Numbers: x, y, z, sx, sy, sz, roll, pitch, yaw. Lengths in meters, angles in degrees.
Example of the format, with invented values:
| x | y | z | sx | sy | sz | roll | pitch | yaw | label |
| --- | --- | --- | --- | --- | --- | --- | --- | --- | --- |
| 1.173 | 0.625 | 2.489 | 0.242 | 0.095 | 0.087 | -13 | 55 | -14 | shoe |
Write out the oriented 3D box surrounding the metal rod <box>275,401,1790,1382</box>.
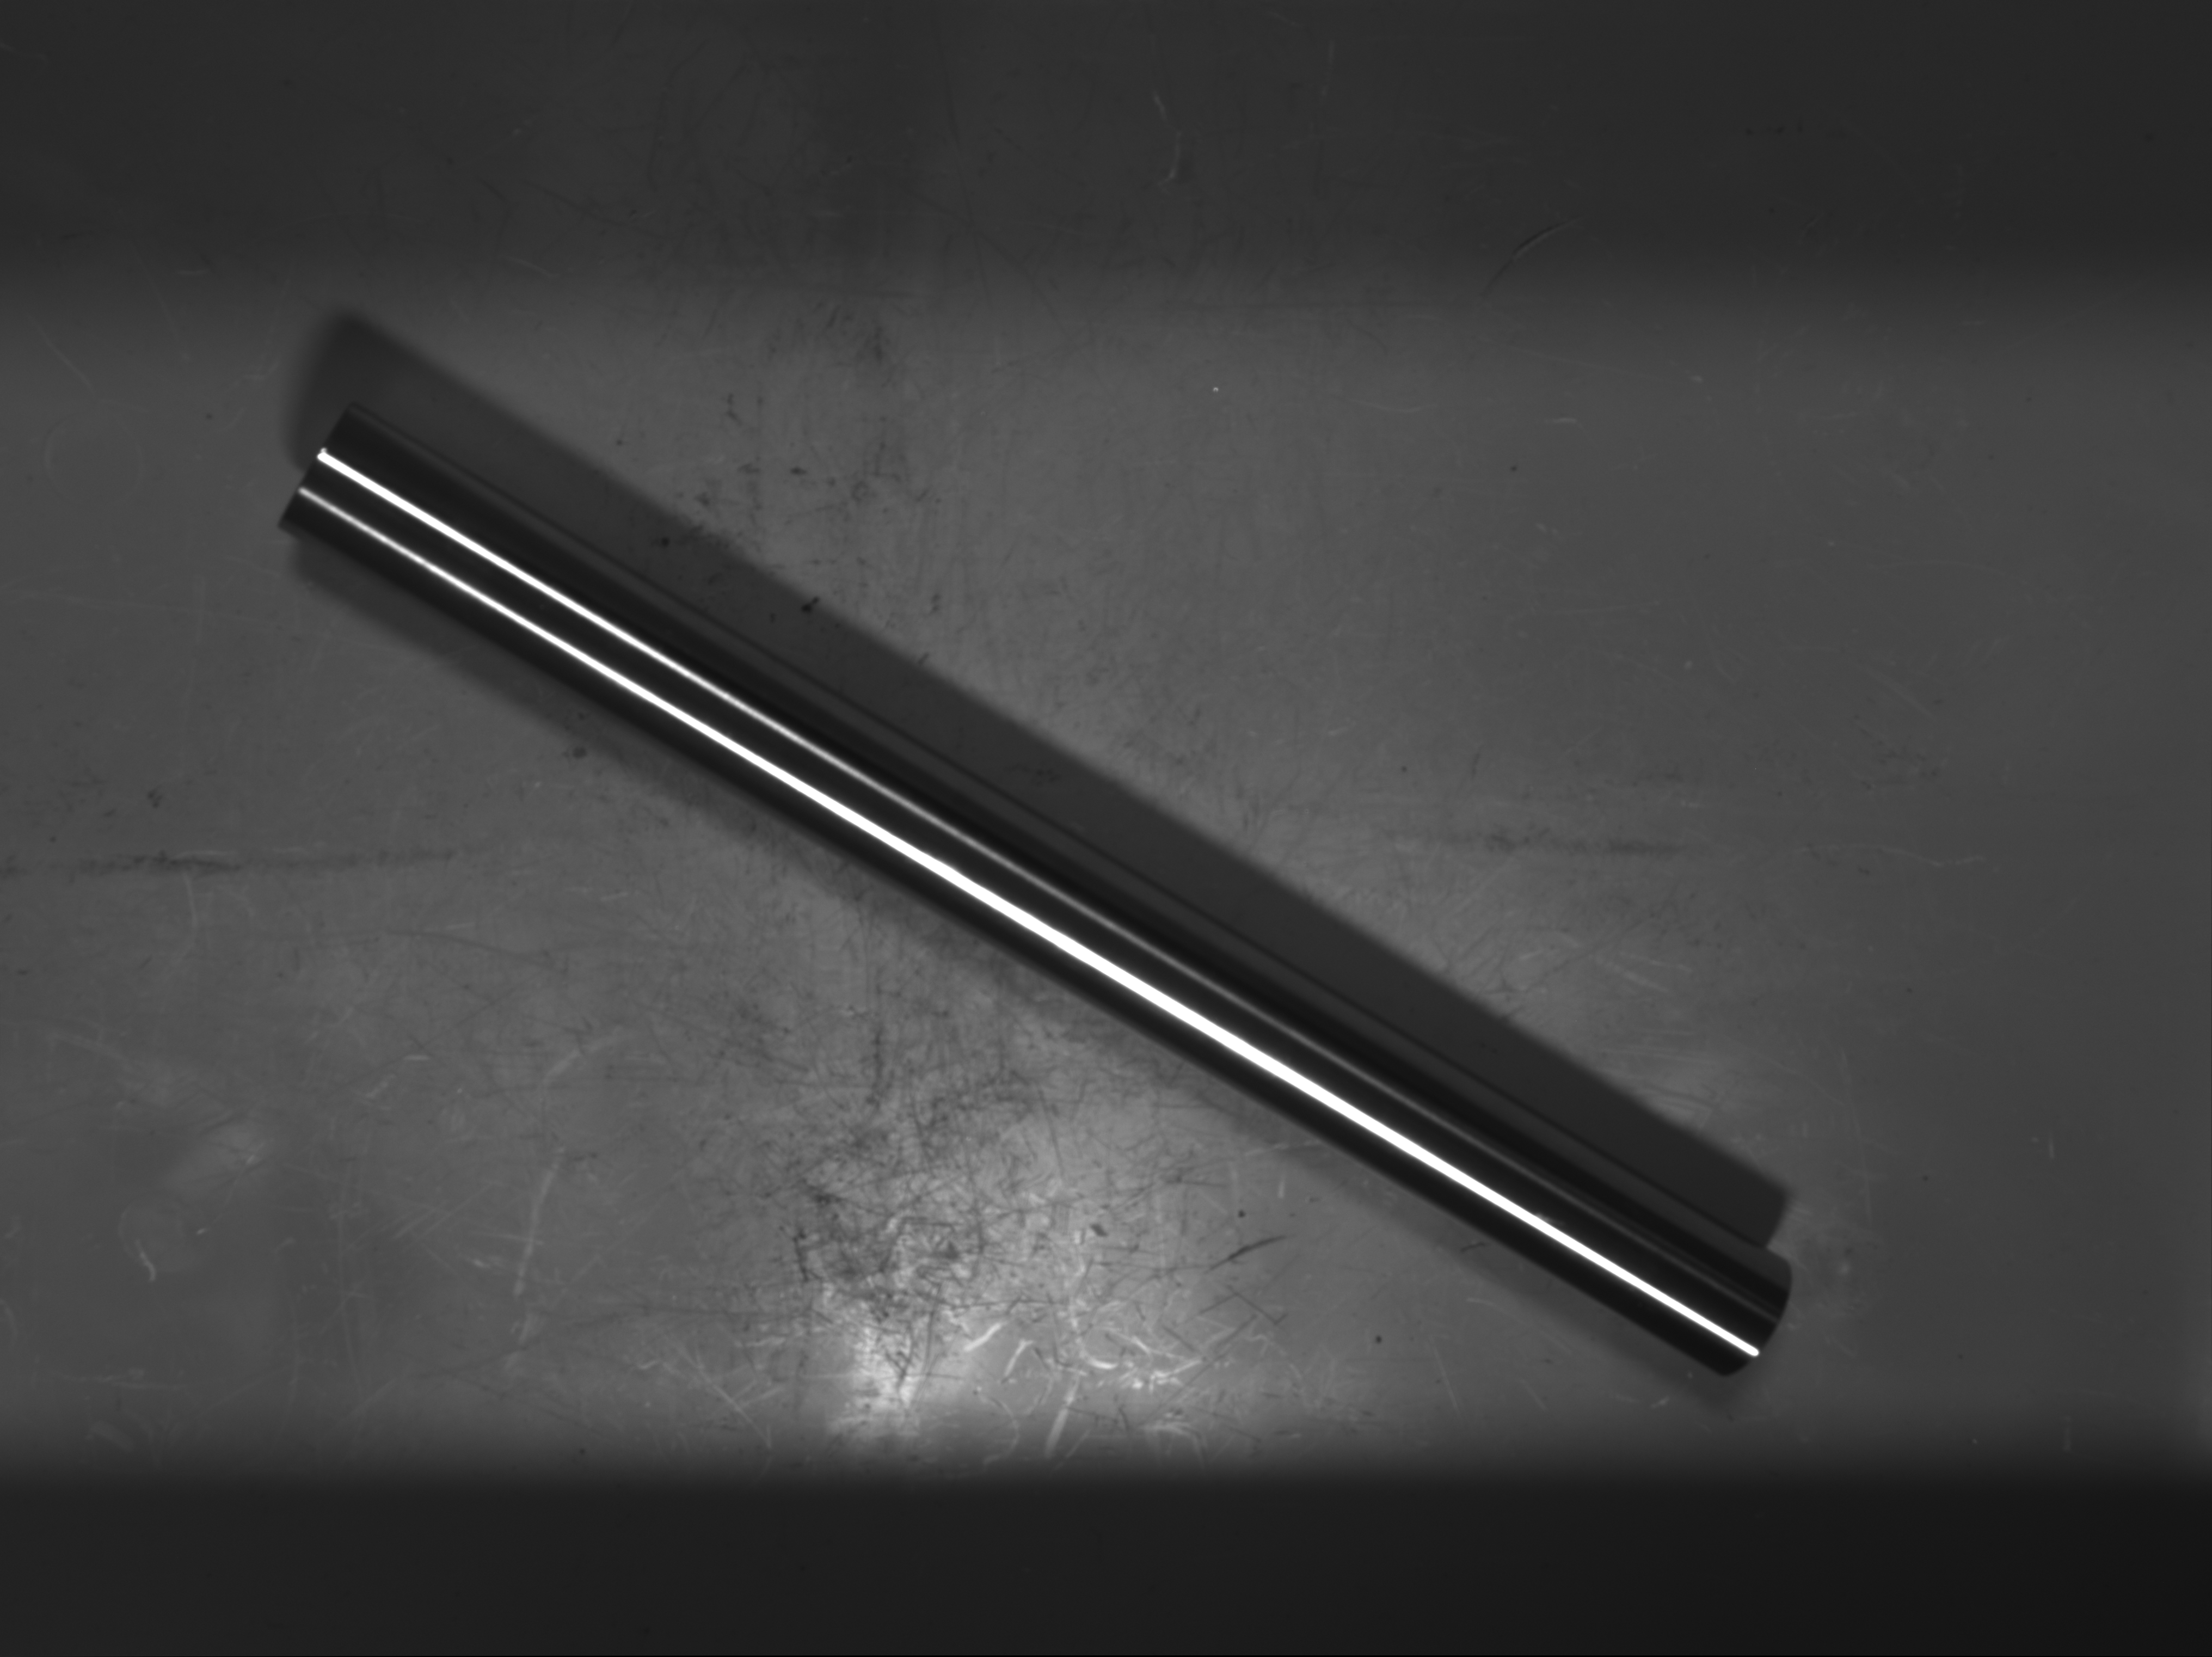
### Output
| x | y | z | sx | sy | sz | roll | pitch | yaw | label |
| --- | --- | --- | --- | --- | --- | --- | --- | --- | --- |
| -0.008 | 0.015 | 0.647 | 0.300 | 0.025 | 0.025 | 31 | 107 | -11 | metal rod |
